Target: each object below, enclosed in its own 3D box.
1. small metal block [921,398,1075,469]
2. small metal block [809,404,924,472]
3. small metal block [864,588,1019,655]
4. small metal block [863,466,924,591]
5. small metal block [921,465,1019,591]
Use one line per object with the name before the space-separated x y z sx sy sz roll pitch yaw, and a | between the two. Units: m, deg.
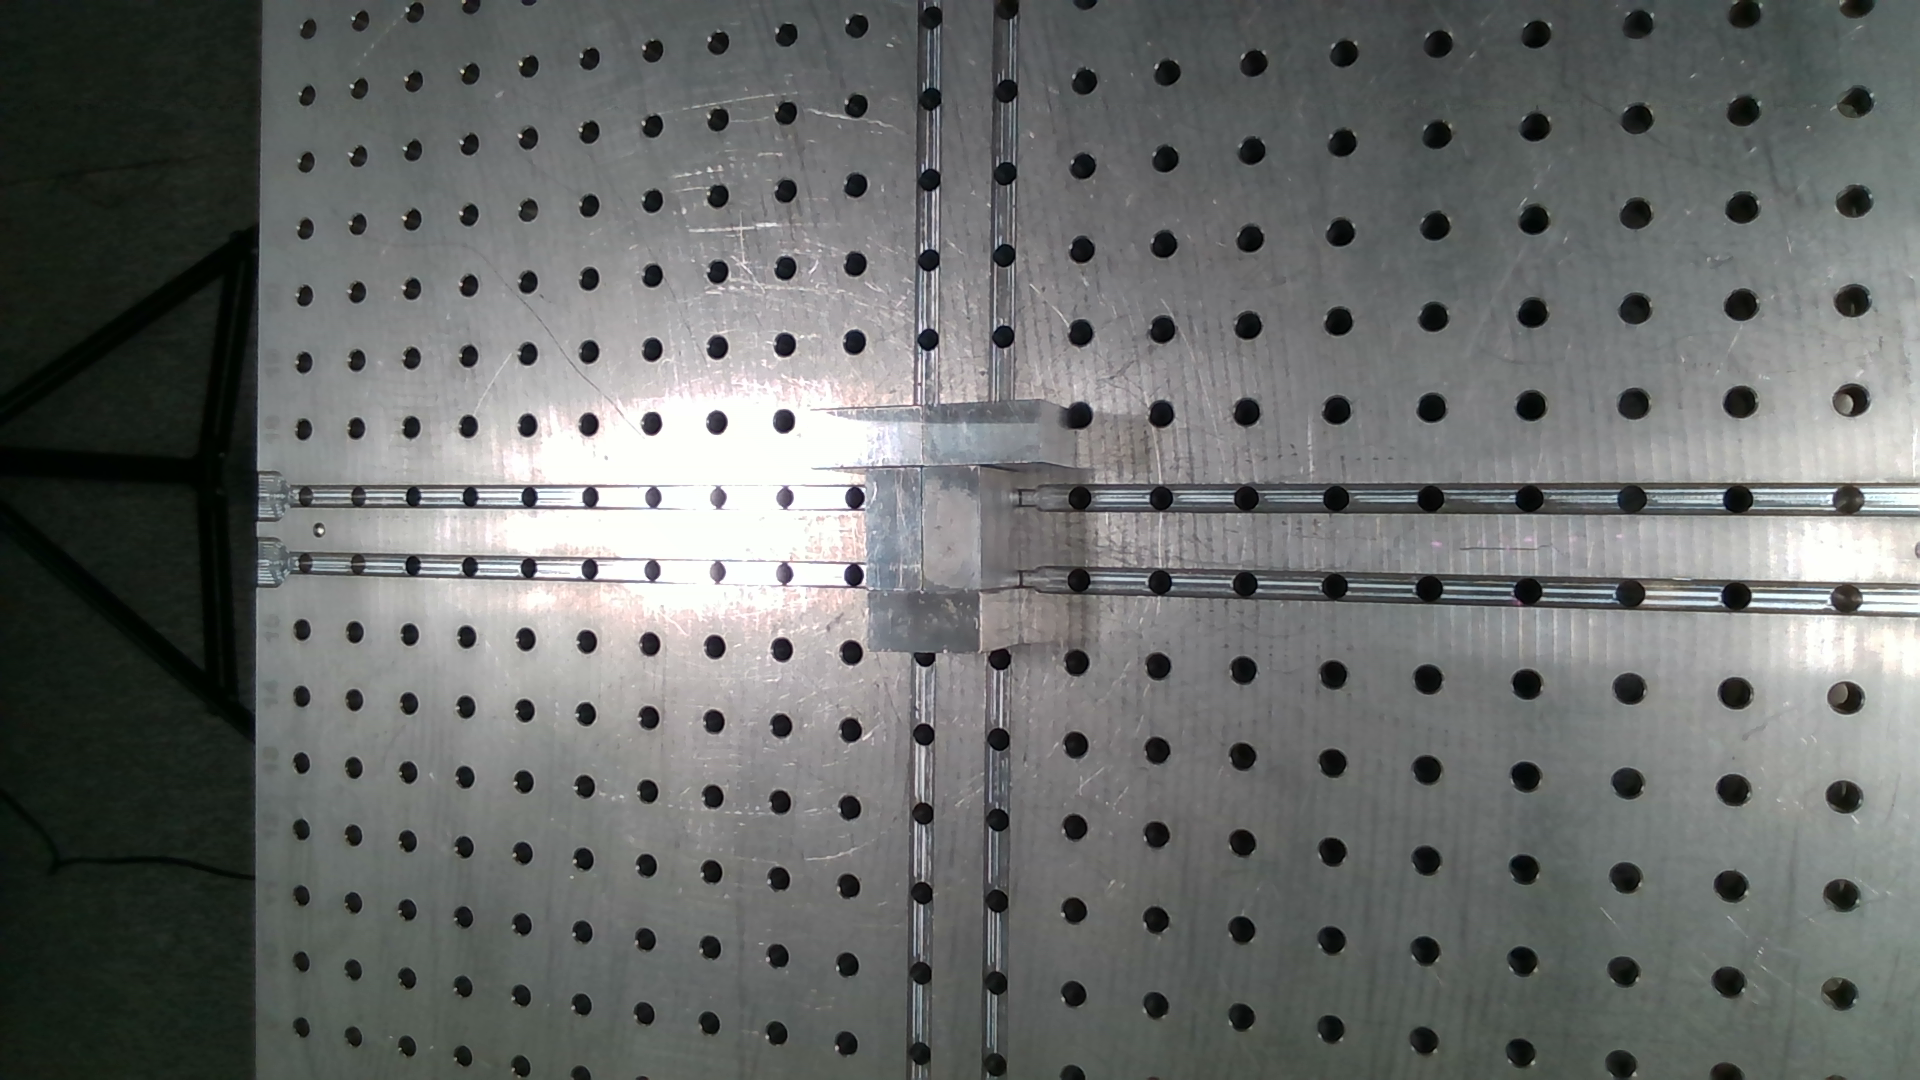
small metal block | 0.017 -0.042 0.567 0.050 0.050 0.025 0 90 20
small metal block | -0.030 -0.042 0.585 0.050 0.050 0.025 0 90 20
small metal block | -0.007 0.033 0.577 0.050 0.050 0.025 0 90 20
small metal block | -0.019 -0.005 0.581 0.025 0.050 0.050 0 90 20
small metal block | 0.005 -0.005 0.572 0.025 0.050 0.050 0 90 20
